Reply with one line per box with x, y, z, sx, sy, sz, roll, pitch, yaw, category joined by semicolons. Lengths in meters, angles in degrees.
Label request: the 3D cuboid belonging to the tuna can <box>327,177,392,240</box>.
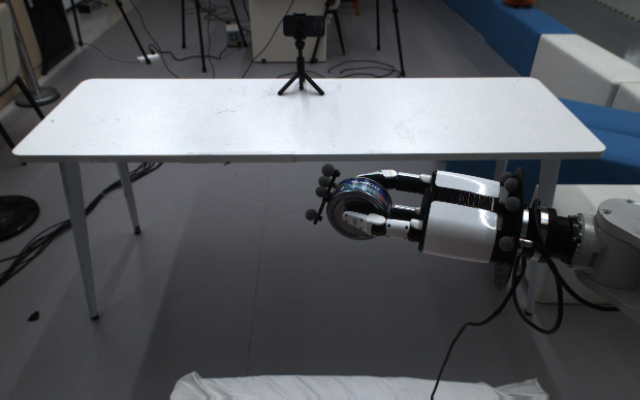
0.056;0.012;0.659;0.085;0.085;0.034;9;35;10;tuna can
